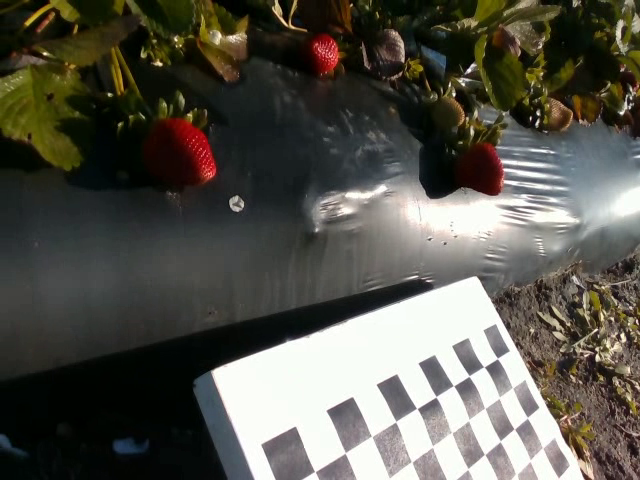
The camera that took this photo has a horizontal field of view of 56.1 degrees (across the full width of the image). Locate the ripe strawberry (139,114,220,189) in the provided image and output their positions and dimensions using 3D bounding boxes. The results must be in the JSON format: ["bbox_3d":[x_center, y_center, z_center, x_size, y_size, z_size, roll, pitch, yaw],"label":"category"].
[{"bbox_3d":[-0.075,-0.045,0.329,0.046,0.041,0.055,4,29,-49],"label":"ripe strawberry"}]

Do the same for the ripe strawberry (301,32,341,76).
[{"bbox_3d":[0.000,-0.149,0.470,0.036,0.034,0.047,-33,-15,30],"label":"ripe strawberry"}]

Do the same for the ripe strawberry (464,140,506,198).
[{"bbox_3d":[0.133,-0.055,0.495,0.042,0.058,0.042,20,-51,-40],"label":"ripe strawberry"}]
